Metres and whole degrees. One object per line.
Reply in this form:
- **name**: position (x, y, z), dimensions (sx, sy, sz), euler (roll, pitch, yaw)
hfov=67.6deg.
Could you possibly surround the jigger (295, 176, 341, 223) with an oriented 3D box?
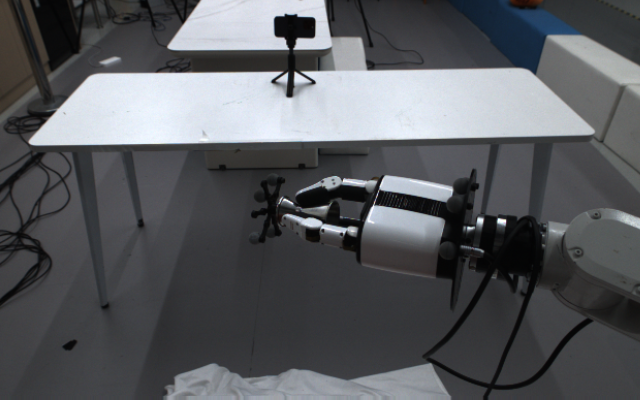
- **jigger**: position (-0.009, 0.015, 0.592), dimensions (0.071, 0.043, 0.043), euler (8, 34, 23)
